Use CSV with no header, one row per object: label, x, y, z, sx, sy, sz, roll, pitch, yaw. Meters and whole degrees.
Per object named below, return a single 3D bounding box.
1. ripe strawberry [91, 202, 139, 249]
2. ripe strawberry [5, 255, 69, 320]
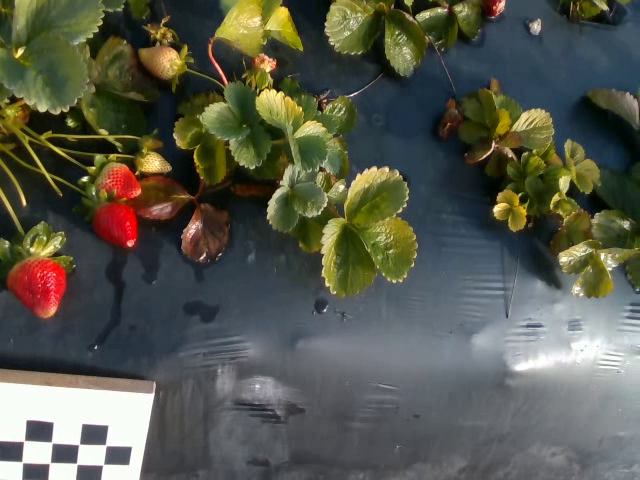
ripe strawberry,-0.191,-0.010,0.588,0.055,0.044,0.042,48,15,27
ripe strawberry,-0.250,0.044,0.556,0.050,0.065,0.049,-27,-29,4
